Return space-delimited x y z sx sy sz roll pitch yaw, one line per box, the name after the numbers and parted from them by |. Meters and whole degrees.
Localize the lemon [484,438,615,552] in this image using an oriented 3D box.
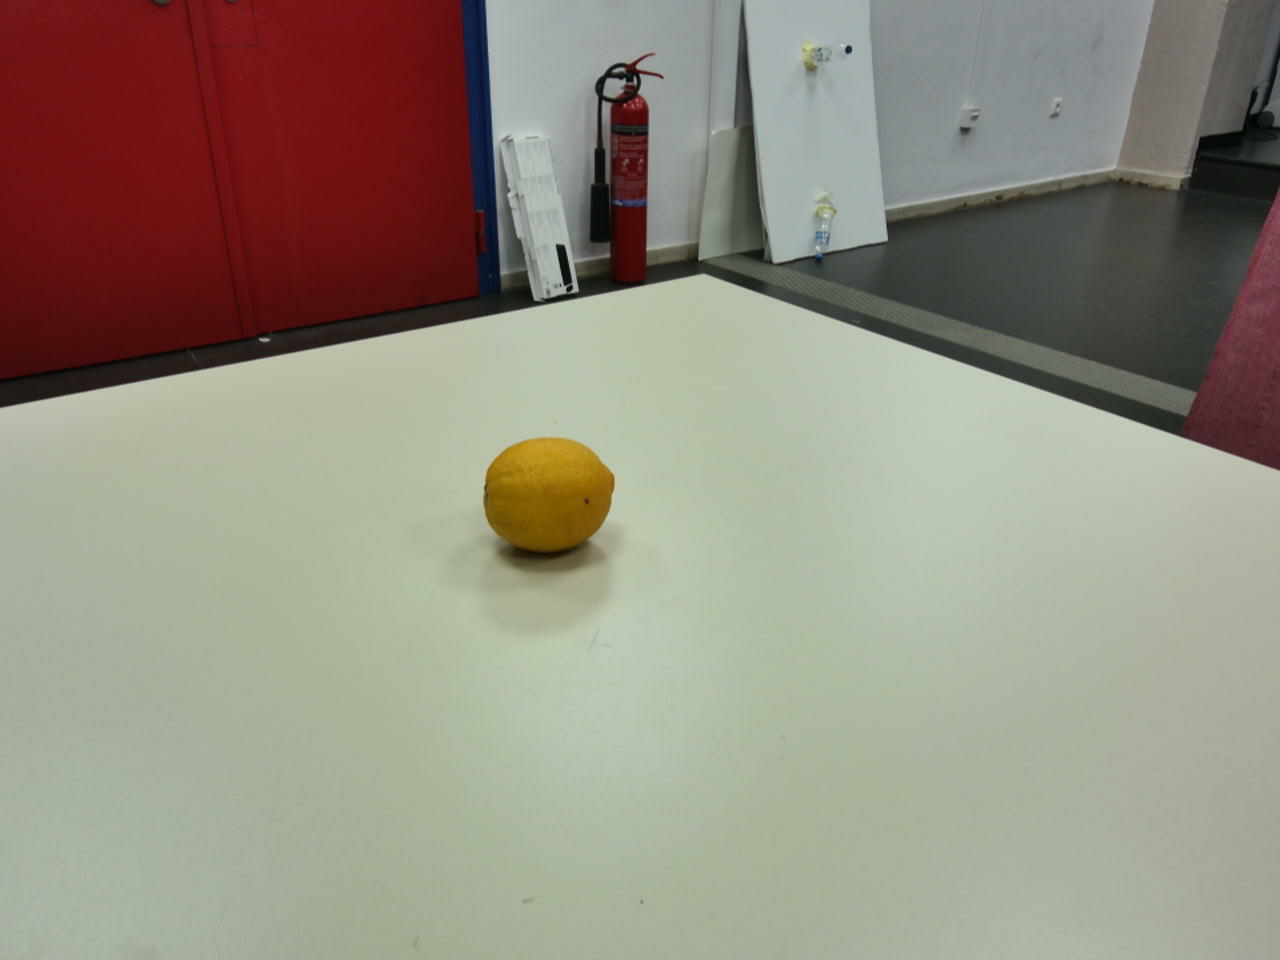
-0.048 0.008 0.520 0.067 0.059 0.060 4 25 4 | lemon
